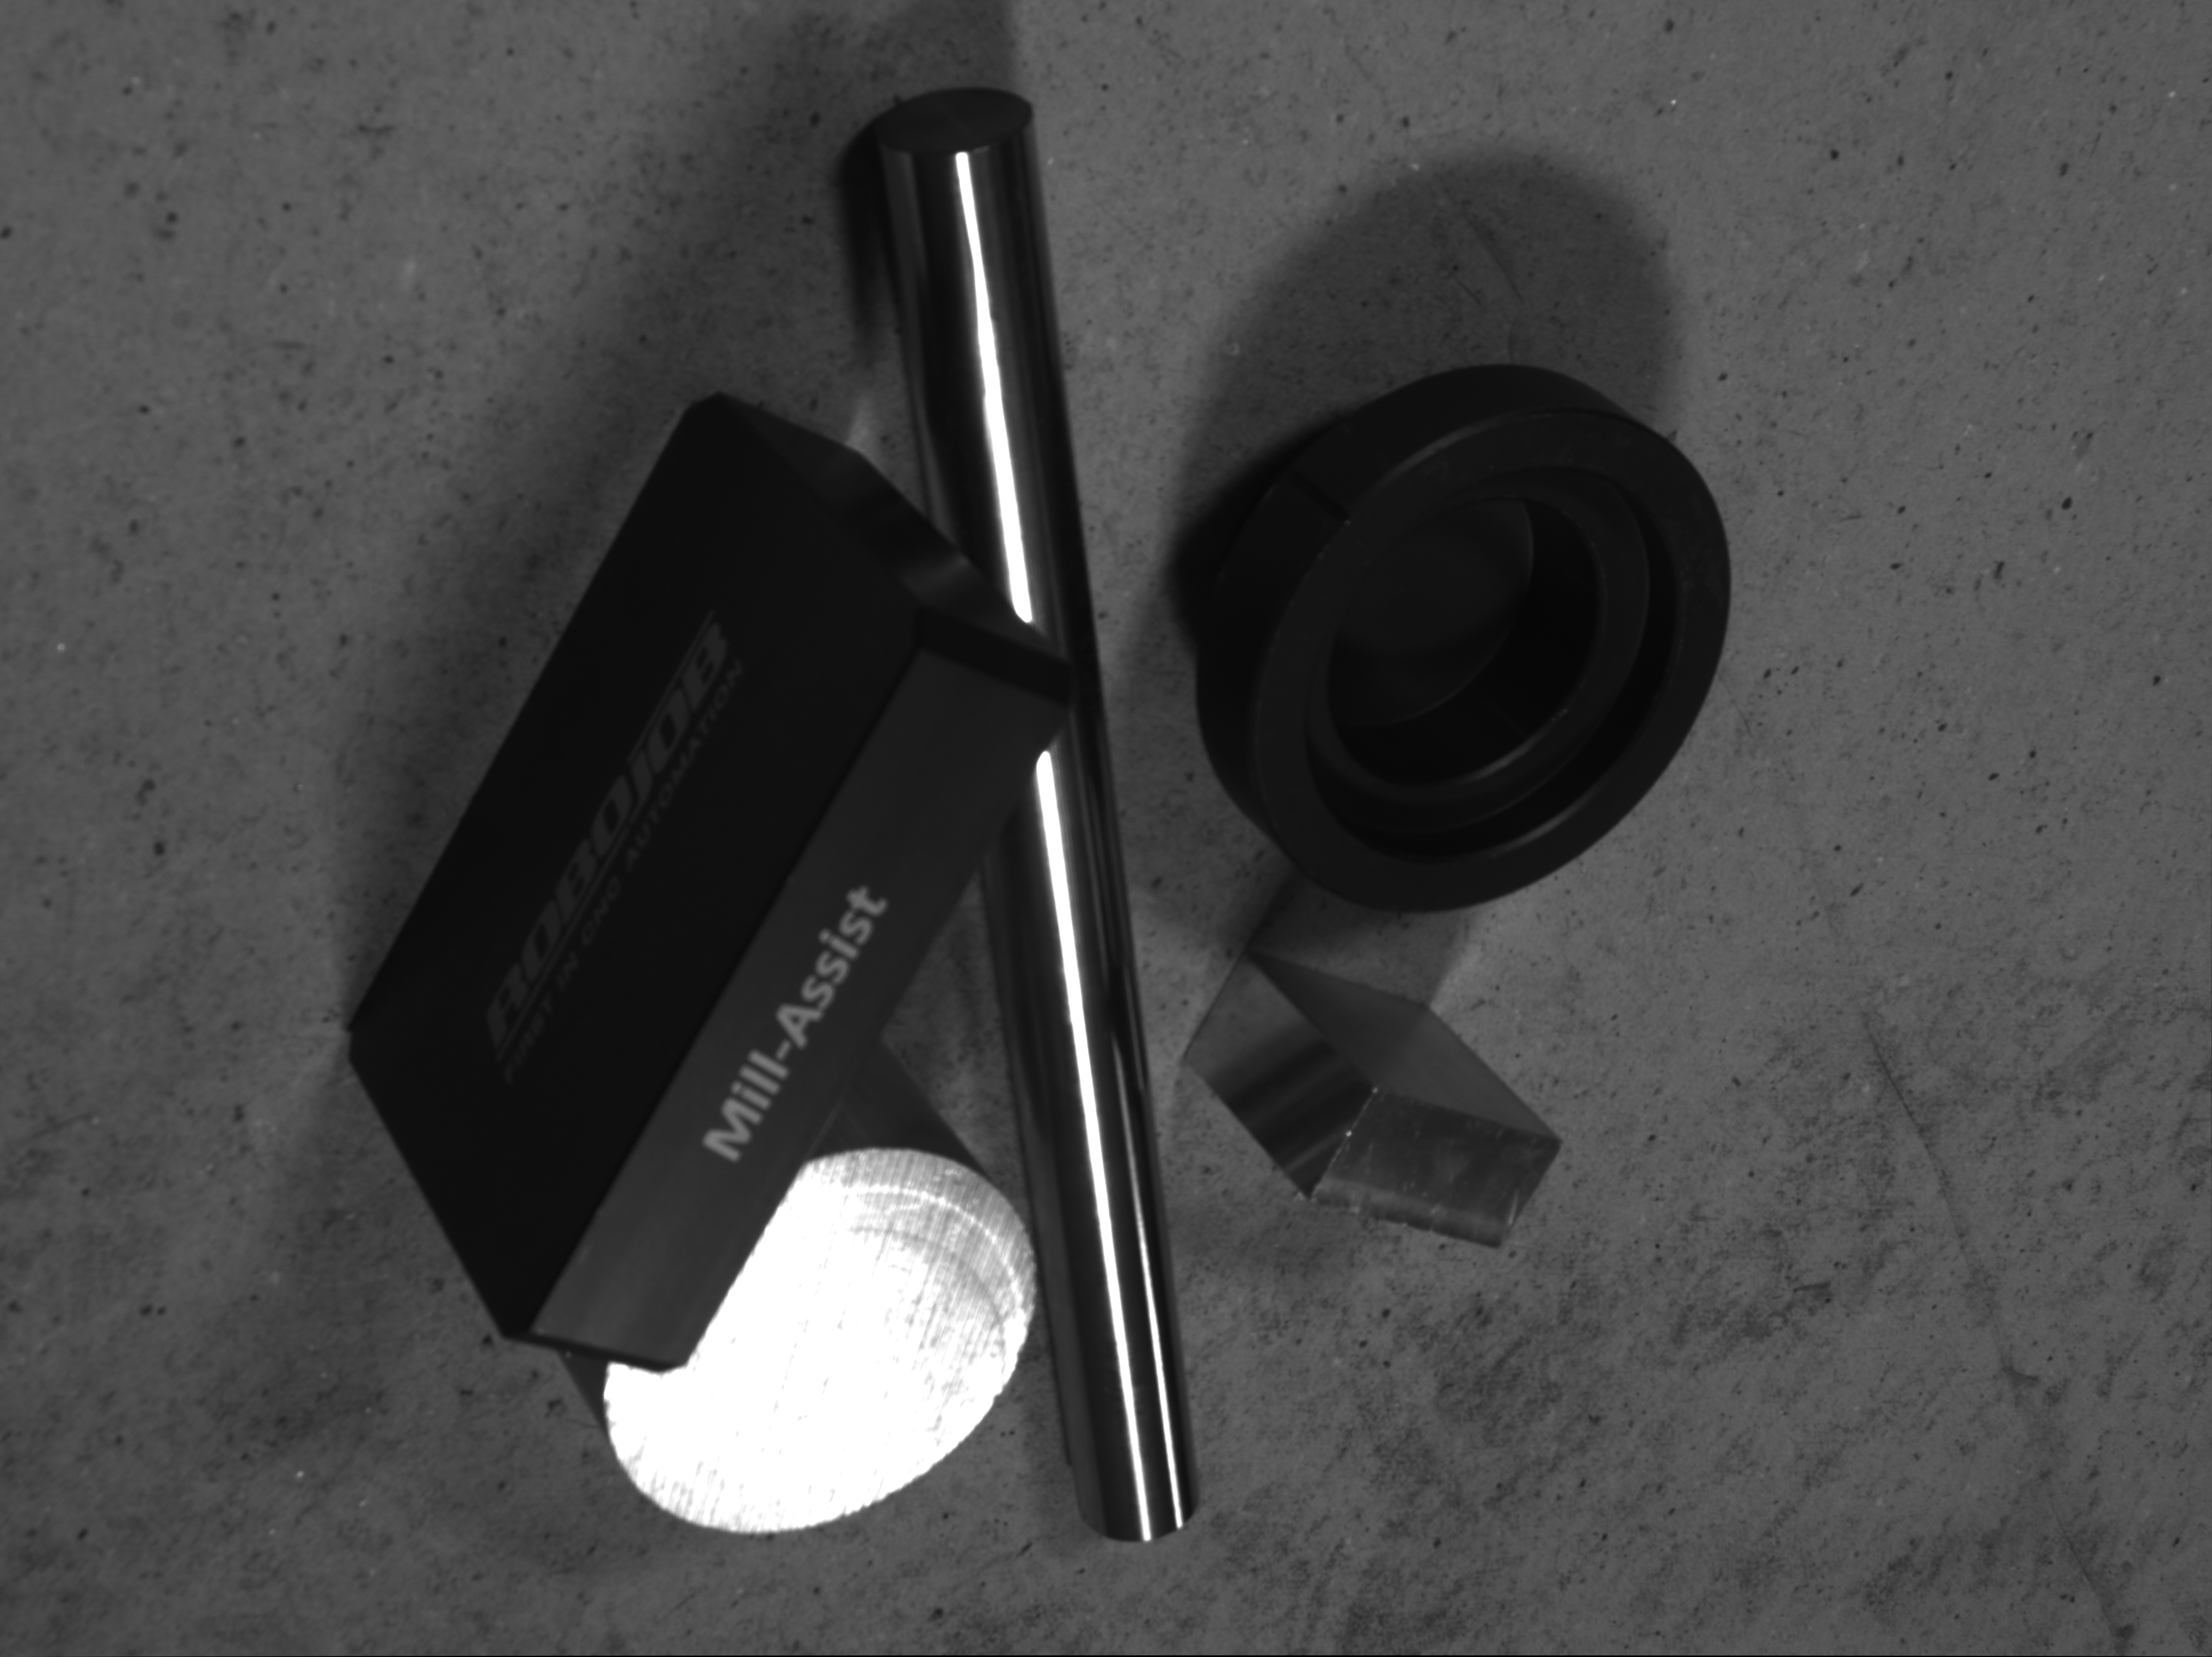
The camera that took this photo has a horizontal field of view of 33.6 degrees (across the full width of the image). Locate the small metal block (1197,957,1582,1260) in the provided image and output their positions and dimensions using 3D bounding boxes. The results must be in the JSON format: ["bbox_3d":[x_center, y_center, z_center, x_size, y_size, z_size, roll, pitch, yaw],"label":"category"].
[{"bbox_3d":[0.054,0.053,0.695,0.050,0.050,0.025,19,108,-37],"label":"small metal block"}]

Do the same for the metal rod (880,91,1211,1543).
[{"bbox_3d":[-0.007,0.013,0.656,0.025,0.025,0.300,-20,127,-18],"label":"metal rod"}]

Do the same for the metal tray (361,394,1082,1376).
[{"bbox_3d":[-0.064,0.008,0.576,0.030,0.090,0.130,20,107,-37],"label":"metal tray"}]

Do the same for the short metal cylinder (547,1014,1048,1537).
[{"bbox_3d":[-0.057,0.078,0.649,0.080,0.050,0.080,-15,125,-22],"label":"short metal cylinder"}]

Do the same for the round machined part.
[{"bbox_3d":[0.061,-0.037,0.653,0.098,0.042,0.098,-15,125,-22],"label":"round machined part"}]
